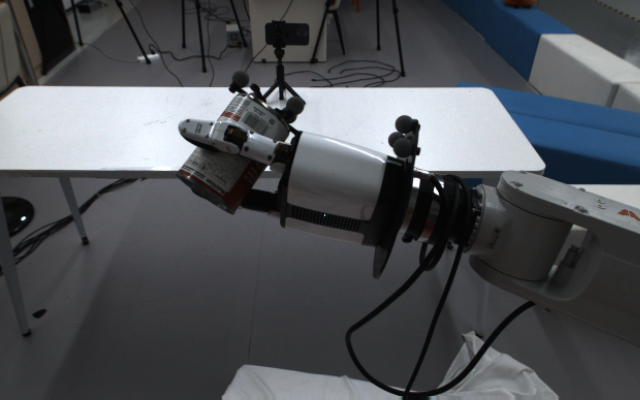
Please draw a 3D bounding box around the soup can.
[{"bbox_3d":[-0.083,-0.047,0.481,0.067,0.067,0.101,26,76,31],"label":"soup can"}]
